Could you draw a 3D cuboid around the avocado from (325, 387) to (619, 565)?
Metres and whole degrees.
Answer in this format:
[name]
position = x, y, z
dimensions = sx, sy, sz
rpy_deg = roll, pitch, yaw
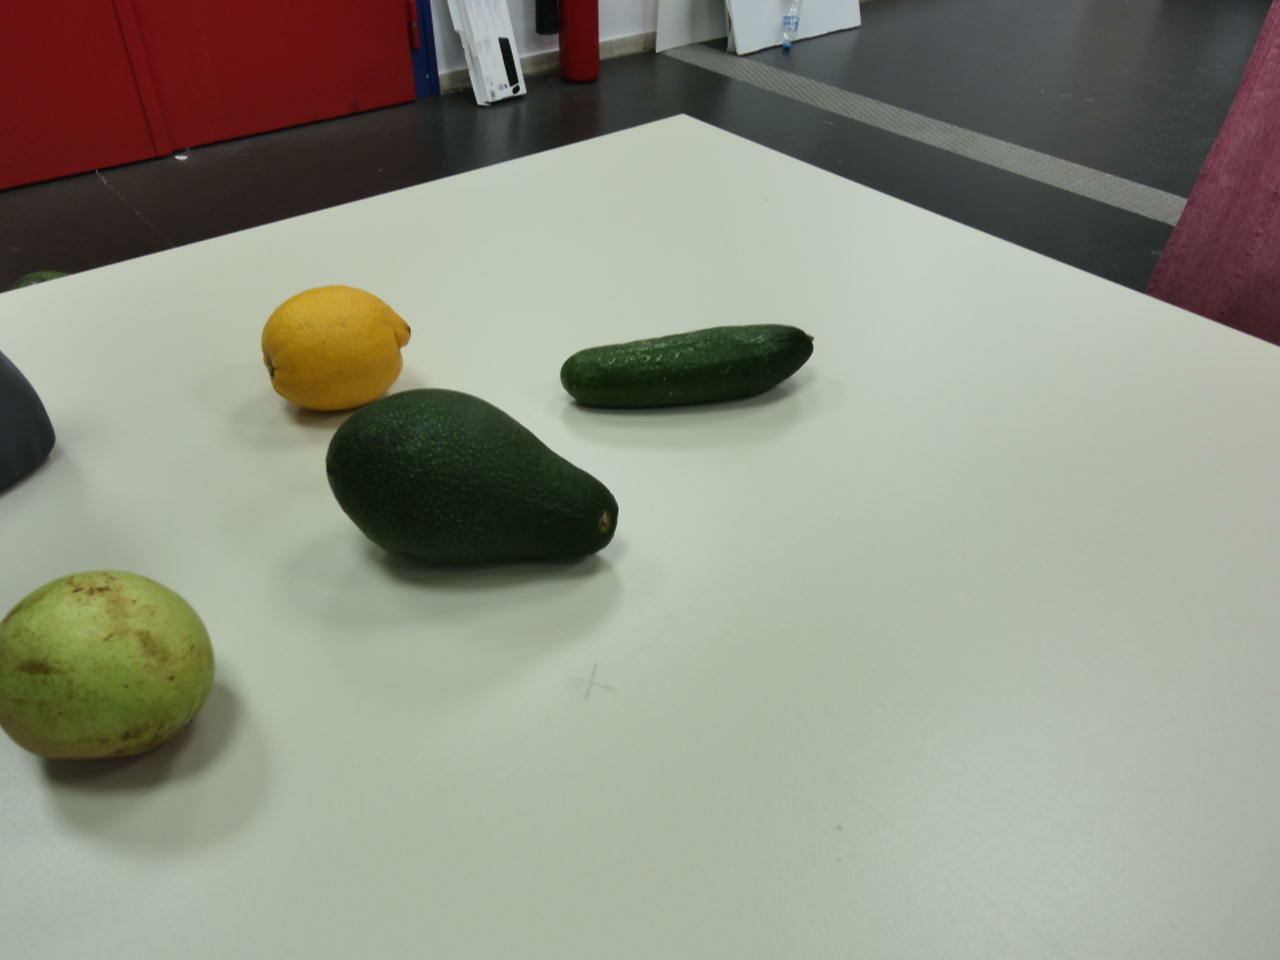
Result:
[avocado]
position = -0.069, 0.002, 0.400
dimensions = 0.110, 0.071, 0.072
rpy_deg = 17, 40, 21
